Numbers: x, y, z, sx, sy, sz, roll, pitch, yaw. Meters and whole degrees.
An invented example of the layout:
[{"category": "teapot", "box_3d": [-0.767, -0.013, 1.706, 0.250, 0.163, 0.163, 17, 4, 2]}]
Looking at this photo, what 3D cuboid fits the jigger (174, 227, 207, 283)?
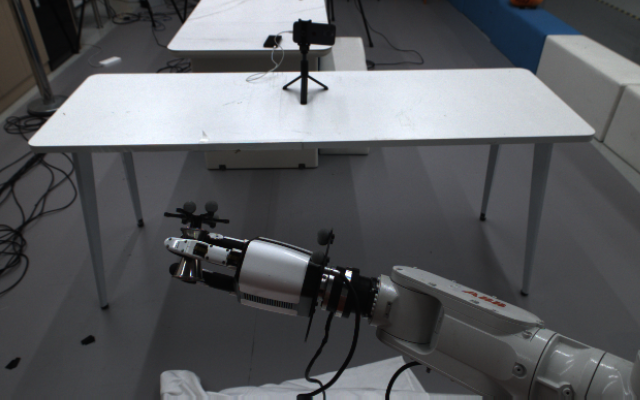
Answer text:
[{"category": "jigger", "box_3d": [-0.176, 0.074, 0.662, 0.043, 0.043, 0.071, 4, 75, 2]}]
